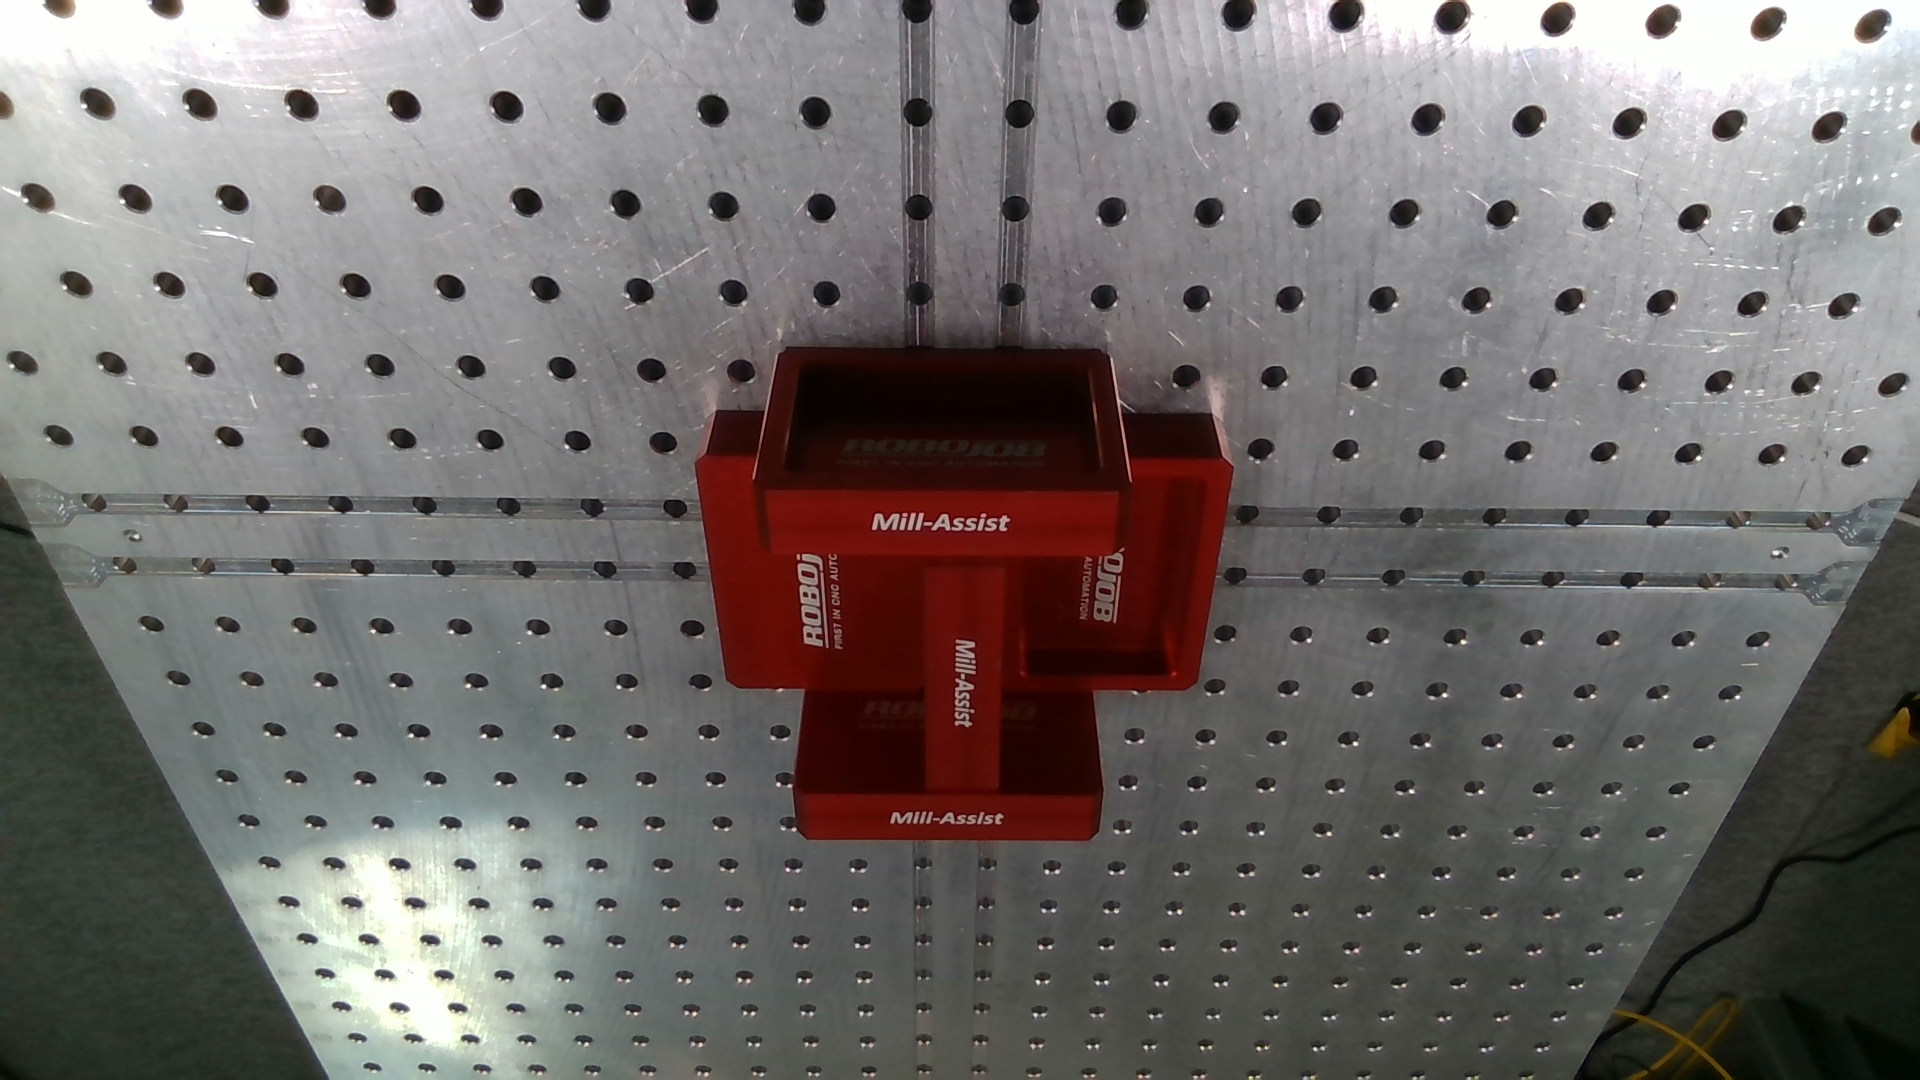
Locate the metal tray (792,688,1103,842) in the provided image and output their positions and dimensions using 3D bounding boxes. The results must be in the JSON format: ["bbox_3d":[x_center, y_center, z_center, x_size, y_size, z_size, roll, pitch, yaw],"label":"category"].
[{"bbox_3d":[-0.005,0.089,0.614,0.130,0.090,0.030,1,130,0],"label":"metal tray"}]

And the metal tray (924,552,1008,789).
[{"bbox_3d":[0.001,0.027,0.561,0.030,0.090,0.130,1,130,0],"label":"metal tray"}]

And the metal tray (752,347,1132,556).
[{"bbox_3d":[-0.006,-0.035,0.510,0.130,0.090,0.030,1,130,0],"label":"metal tray"}]

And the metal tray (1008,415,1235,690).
[{"bbox_3d":[0.062,0.008,0.586,0.090,0.030,0.130,0,130,0],"label":"metal tray"}]

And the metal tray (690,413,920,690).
[{"bbox_3d":[-0.060,0.008,0.584,0.090,0.030,0.130,0,130,0],"label":"metal tray"}]
